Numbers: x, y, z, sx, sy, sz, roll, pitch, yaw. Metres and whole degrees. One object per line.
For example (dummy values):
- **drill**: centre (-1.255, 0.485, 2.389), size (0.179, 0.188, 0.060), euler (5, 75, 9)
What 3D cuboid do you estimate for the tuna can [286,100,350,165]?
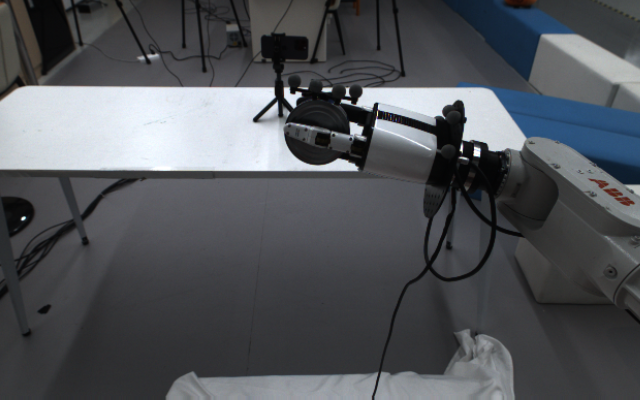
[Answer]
- **tuna can**: centre (-0.002, -0.093, 0.639), size (0.085, 0.085, 0.034), euler (5, 18, 4)
